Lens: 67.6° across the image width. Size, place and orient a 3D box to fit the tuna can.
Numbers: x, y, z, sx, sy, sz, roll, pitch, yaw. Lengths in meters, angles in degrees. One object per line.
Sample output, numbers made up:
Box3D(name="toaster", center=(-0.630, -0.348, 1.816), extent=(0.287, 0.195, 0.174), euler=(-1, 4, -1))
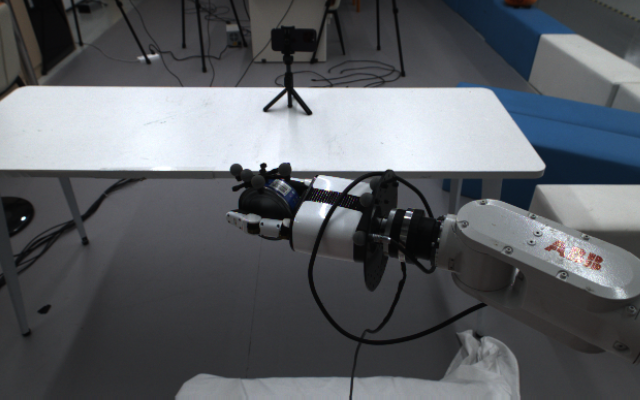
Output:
Box3D(name="tuna can", center=(-0.066, 0.011, 0.667), extent=(0.085, 0.085, 0.034), euler=(17, 36, 20))
